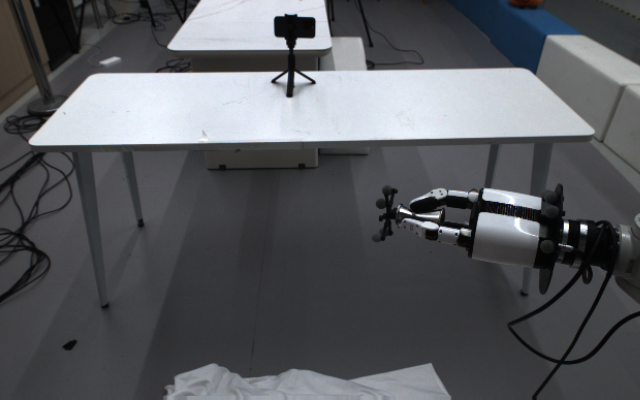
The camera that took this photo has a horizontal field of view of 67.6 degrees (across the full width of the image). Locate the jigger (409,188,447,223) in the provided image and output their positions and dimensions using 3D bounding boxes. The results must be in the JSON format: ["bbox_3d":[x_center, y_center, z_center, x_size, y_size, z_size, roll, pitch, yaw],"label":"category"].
[{"bbox_3d":[0.161,0.025,0.748,0.071,0.043,0.043,8,34,23],"label":"jigger"}]
